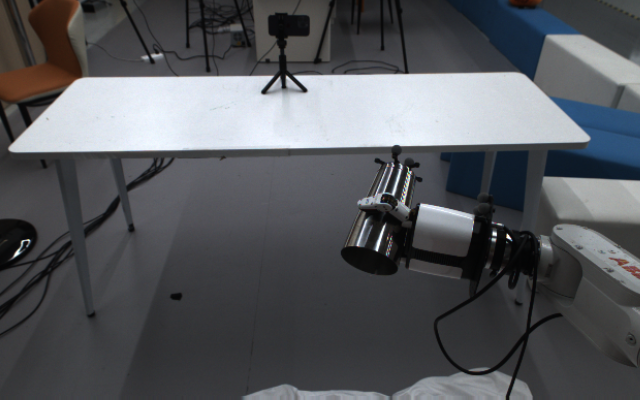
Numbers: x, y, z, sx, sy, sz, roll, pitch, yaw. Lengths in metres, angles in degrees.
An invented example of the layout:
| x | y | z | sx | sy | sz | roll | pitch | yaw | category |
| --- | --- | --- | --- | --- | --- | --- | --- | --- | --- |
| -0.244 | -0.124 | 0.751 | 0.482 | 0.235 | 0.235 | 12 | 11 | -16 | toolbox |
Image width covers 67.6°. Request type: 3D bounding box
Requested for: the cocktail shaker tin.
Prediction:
| x | y | z | sx | sy | sz | roll | pitch | yaw | category |
| --- | --- | --- | --- | --- | --- | --- | --- | --- | --- |
| 0.101 | 0.023 | 0.778 | 0.093 | 0.093 | 0.170 | 14 | 60 | 17 | cocktail shaker tin |
